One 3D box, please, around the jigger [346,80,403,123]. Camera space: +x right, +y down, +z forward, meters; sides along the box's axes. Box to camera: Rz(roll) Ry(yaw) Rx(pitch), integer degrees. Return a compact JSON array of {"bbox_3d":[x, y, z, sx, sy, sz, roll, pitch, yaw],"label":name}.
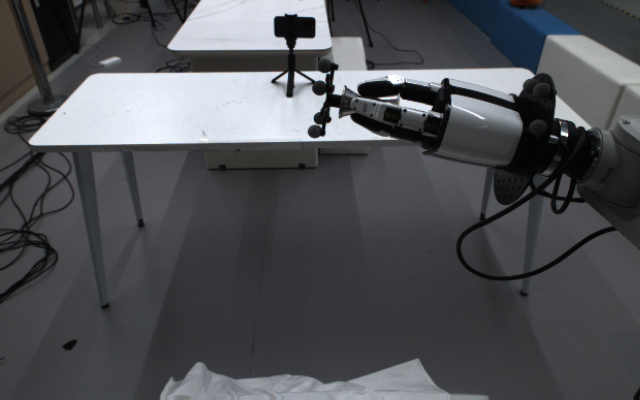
[{"bbox_3d":[0.064,-0.118,0.592,0.071,0.043,0.043,10,35,4],"label":"jigger"}]
